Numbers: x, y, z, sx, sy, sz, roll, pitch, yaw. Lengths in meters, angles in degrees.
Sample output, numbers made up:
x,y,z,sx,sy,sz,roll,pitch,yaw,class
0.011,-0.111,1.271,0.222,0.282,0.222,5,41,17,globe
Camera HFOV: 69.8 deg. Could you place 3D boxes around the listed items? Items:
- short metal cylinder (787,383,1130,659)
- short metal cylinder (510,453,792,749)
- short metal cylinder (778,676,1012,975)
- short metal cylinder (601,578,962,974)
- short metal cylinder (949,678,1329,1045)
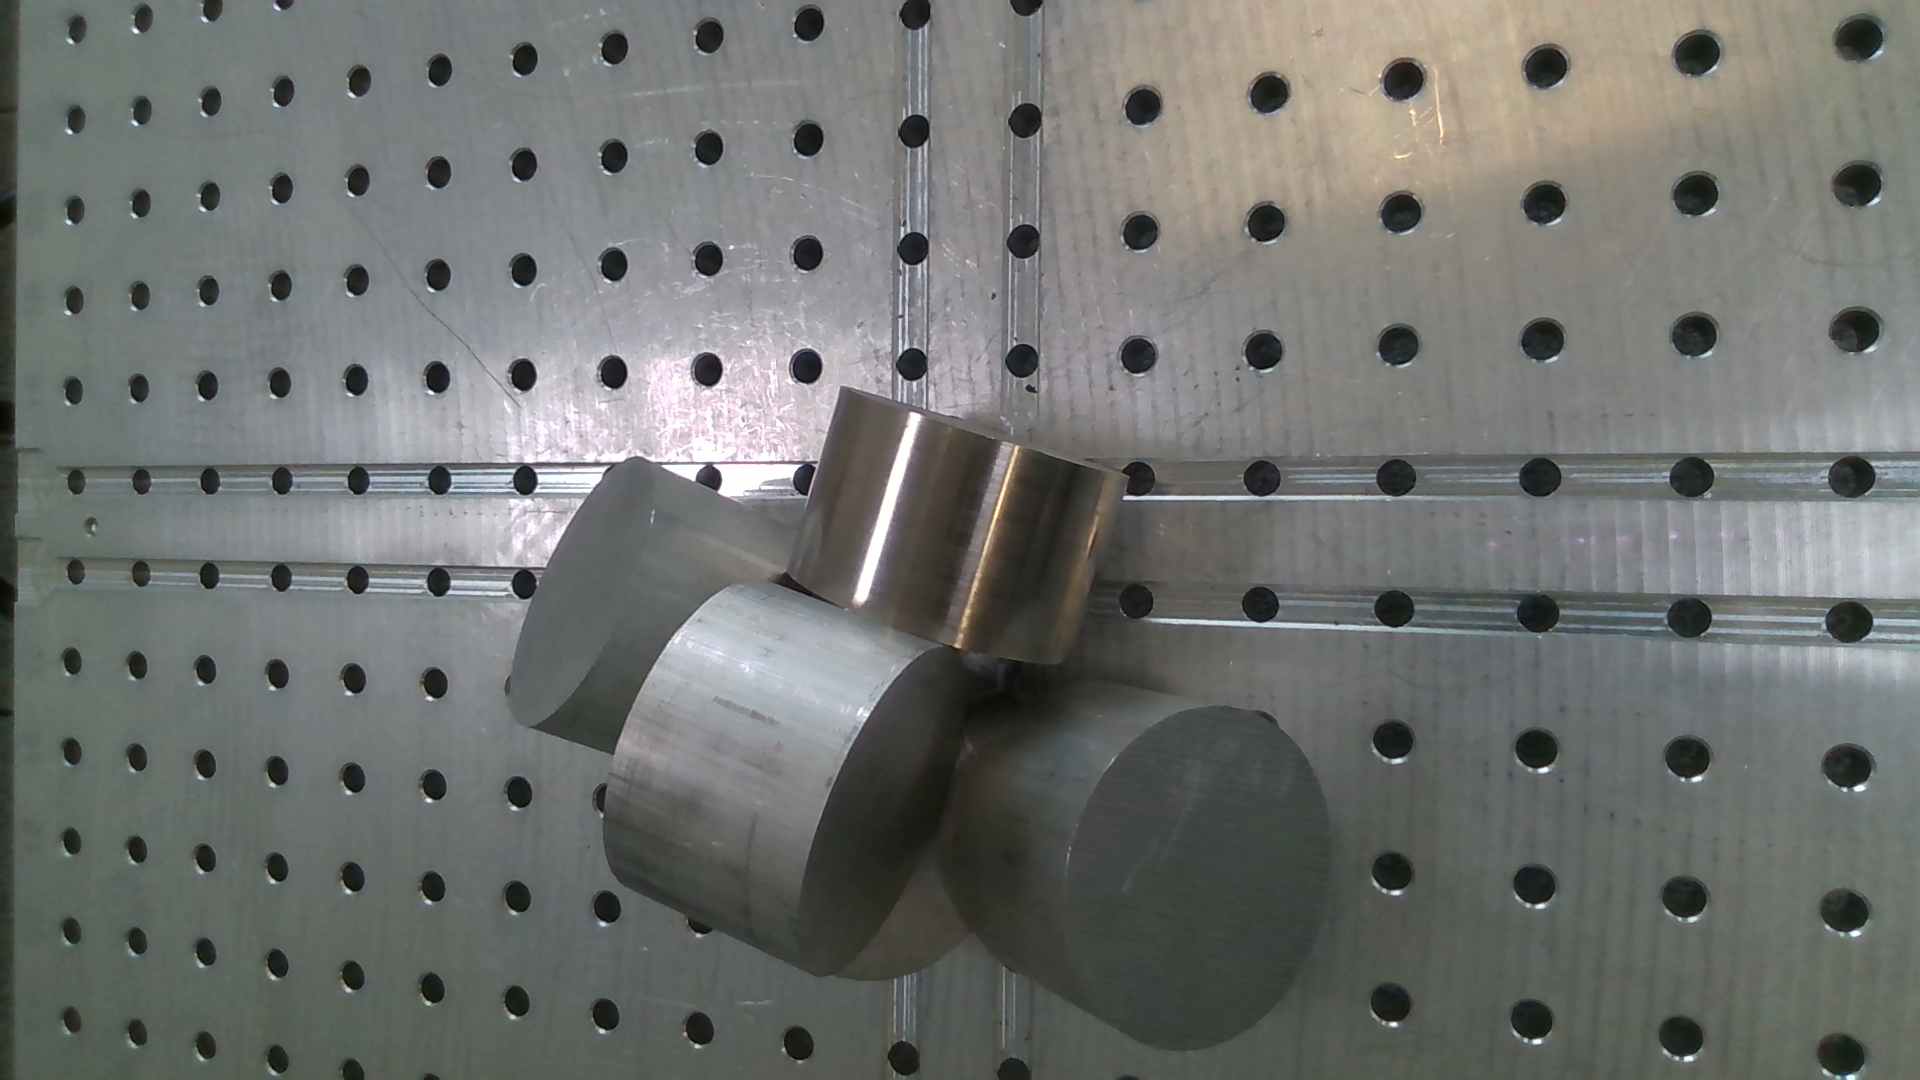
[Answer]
x,y,z,sx,sy,sz,roll,pitch,yaw,class
-0.001,-0.006,0.367,0.080,0.080,0.050,20,97,19,short metal cylinder
-0.086,0.022,0.392,0.080,0.050,0.080,-37,39,38,short metal cylinder
-0.020,0.076,0.390,0.080,0.050,0.080,0,90,19,short metal cylinder
-0.040,0.055,0.328,0.050,0.080,0.080,18,96,19,short metal cylinder
0.045,0.077,0.344,0.050,0.080,0.080,4,92,60,short metal cylinder
